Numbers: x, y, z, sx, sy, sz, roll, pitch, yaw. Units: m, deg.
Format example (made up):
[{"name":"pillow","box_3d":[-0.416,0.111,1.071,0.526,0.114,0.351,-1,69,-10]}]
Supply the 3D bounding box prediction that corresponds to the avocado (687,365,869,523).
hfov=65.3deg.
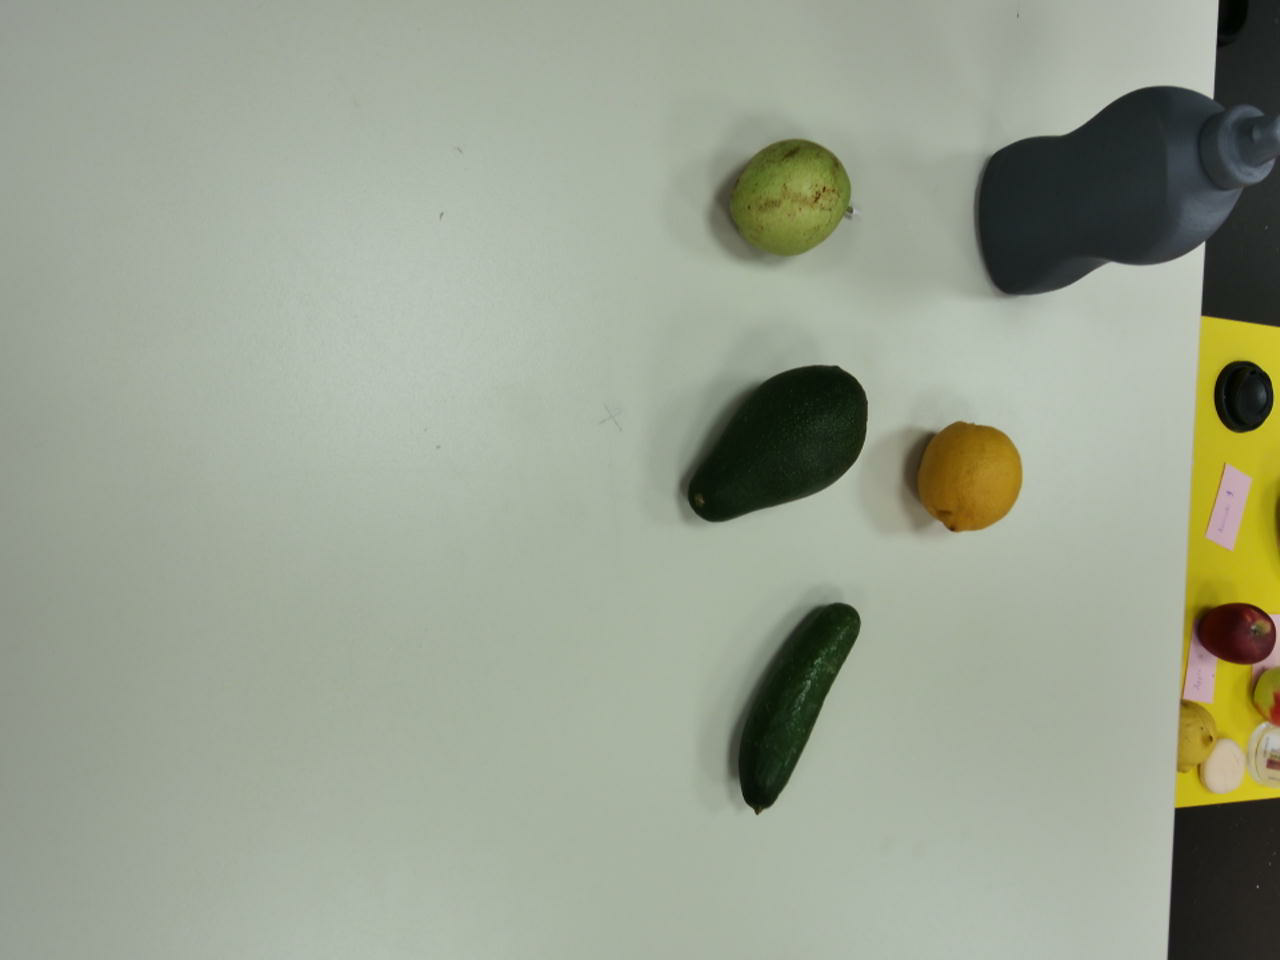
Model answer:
[{"name":"avocado","box_3d":[0.077,-0.021,0.561,0.109,0.071,0.072,-18,97,-21]}]
